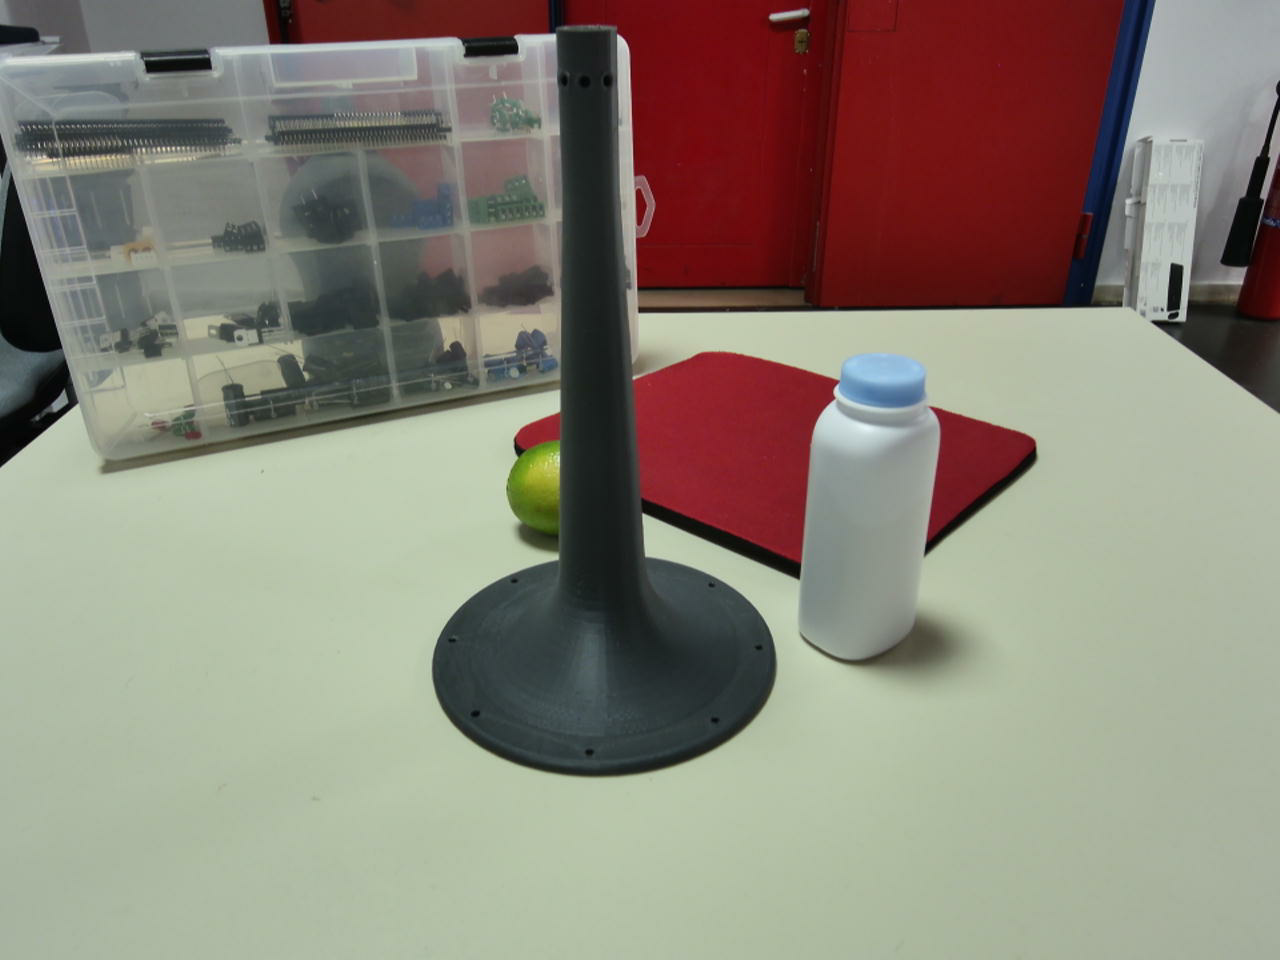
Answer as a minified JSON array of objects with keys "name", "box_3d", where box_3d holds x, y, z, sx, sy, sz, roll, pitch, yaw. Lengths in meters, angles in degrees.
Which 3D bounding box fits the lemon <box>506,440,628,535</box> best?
[{"name":"lemon","box_3d":[-0.042,0.004,0.531,0.054,0.050,0.055,-22,32,-36]}]
